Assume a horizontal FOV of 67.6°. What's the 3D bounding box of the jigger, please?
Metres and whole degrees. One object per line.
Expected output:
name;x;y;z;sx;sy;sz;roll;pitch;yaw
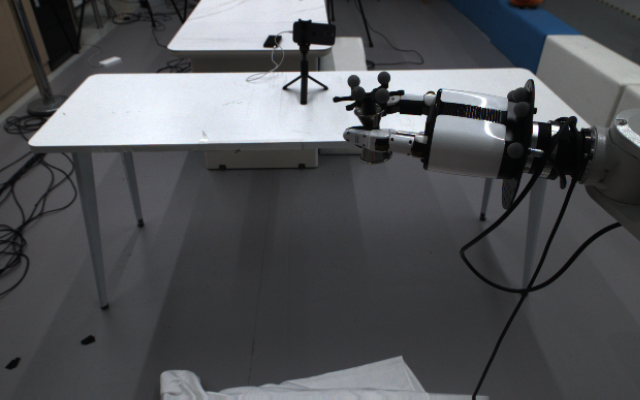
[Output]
jigger;0.070;-0.089;0.639;0.043;0.071;0.043;-9;31;5
